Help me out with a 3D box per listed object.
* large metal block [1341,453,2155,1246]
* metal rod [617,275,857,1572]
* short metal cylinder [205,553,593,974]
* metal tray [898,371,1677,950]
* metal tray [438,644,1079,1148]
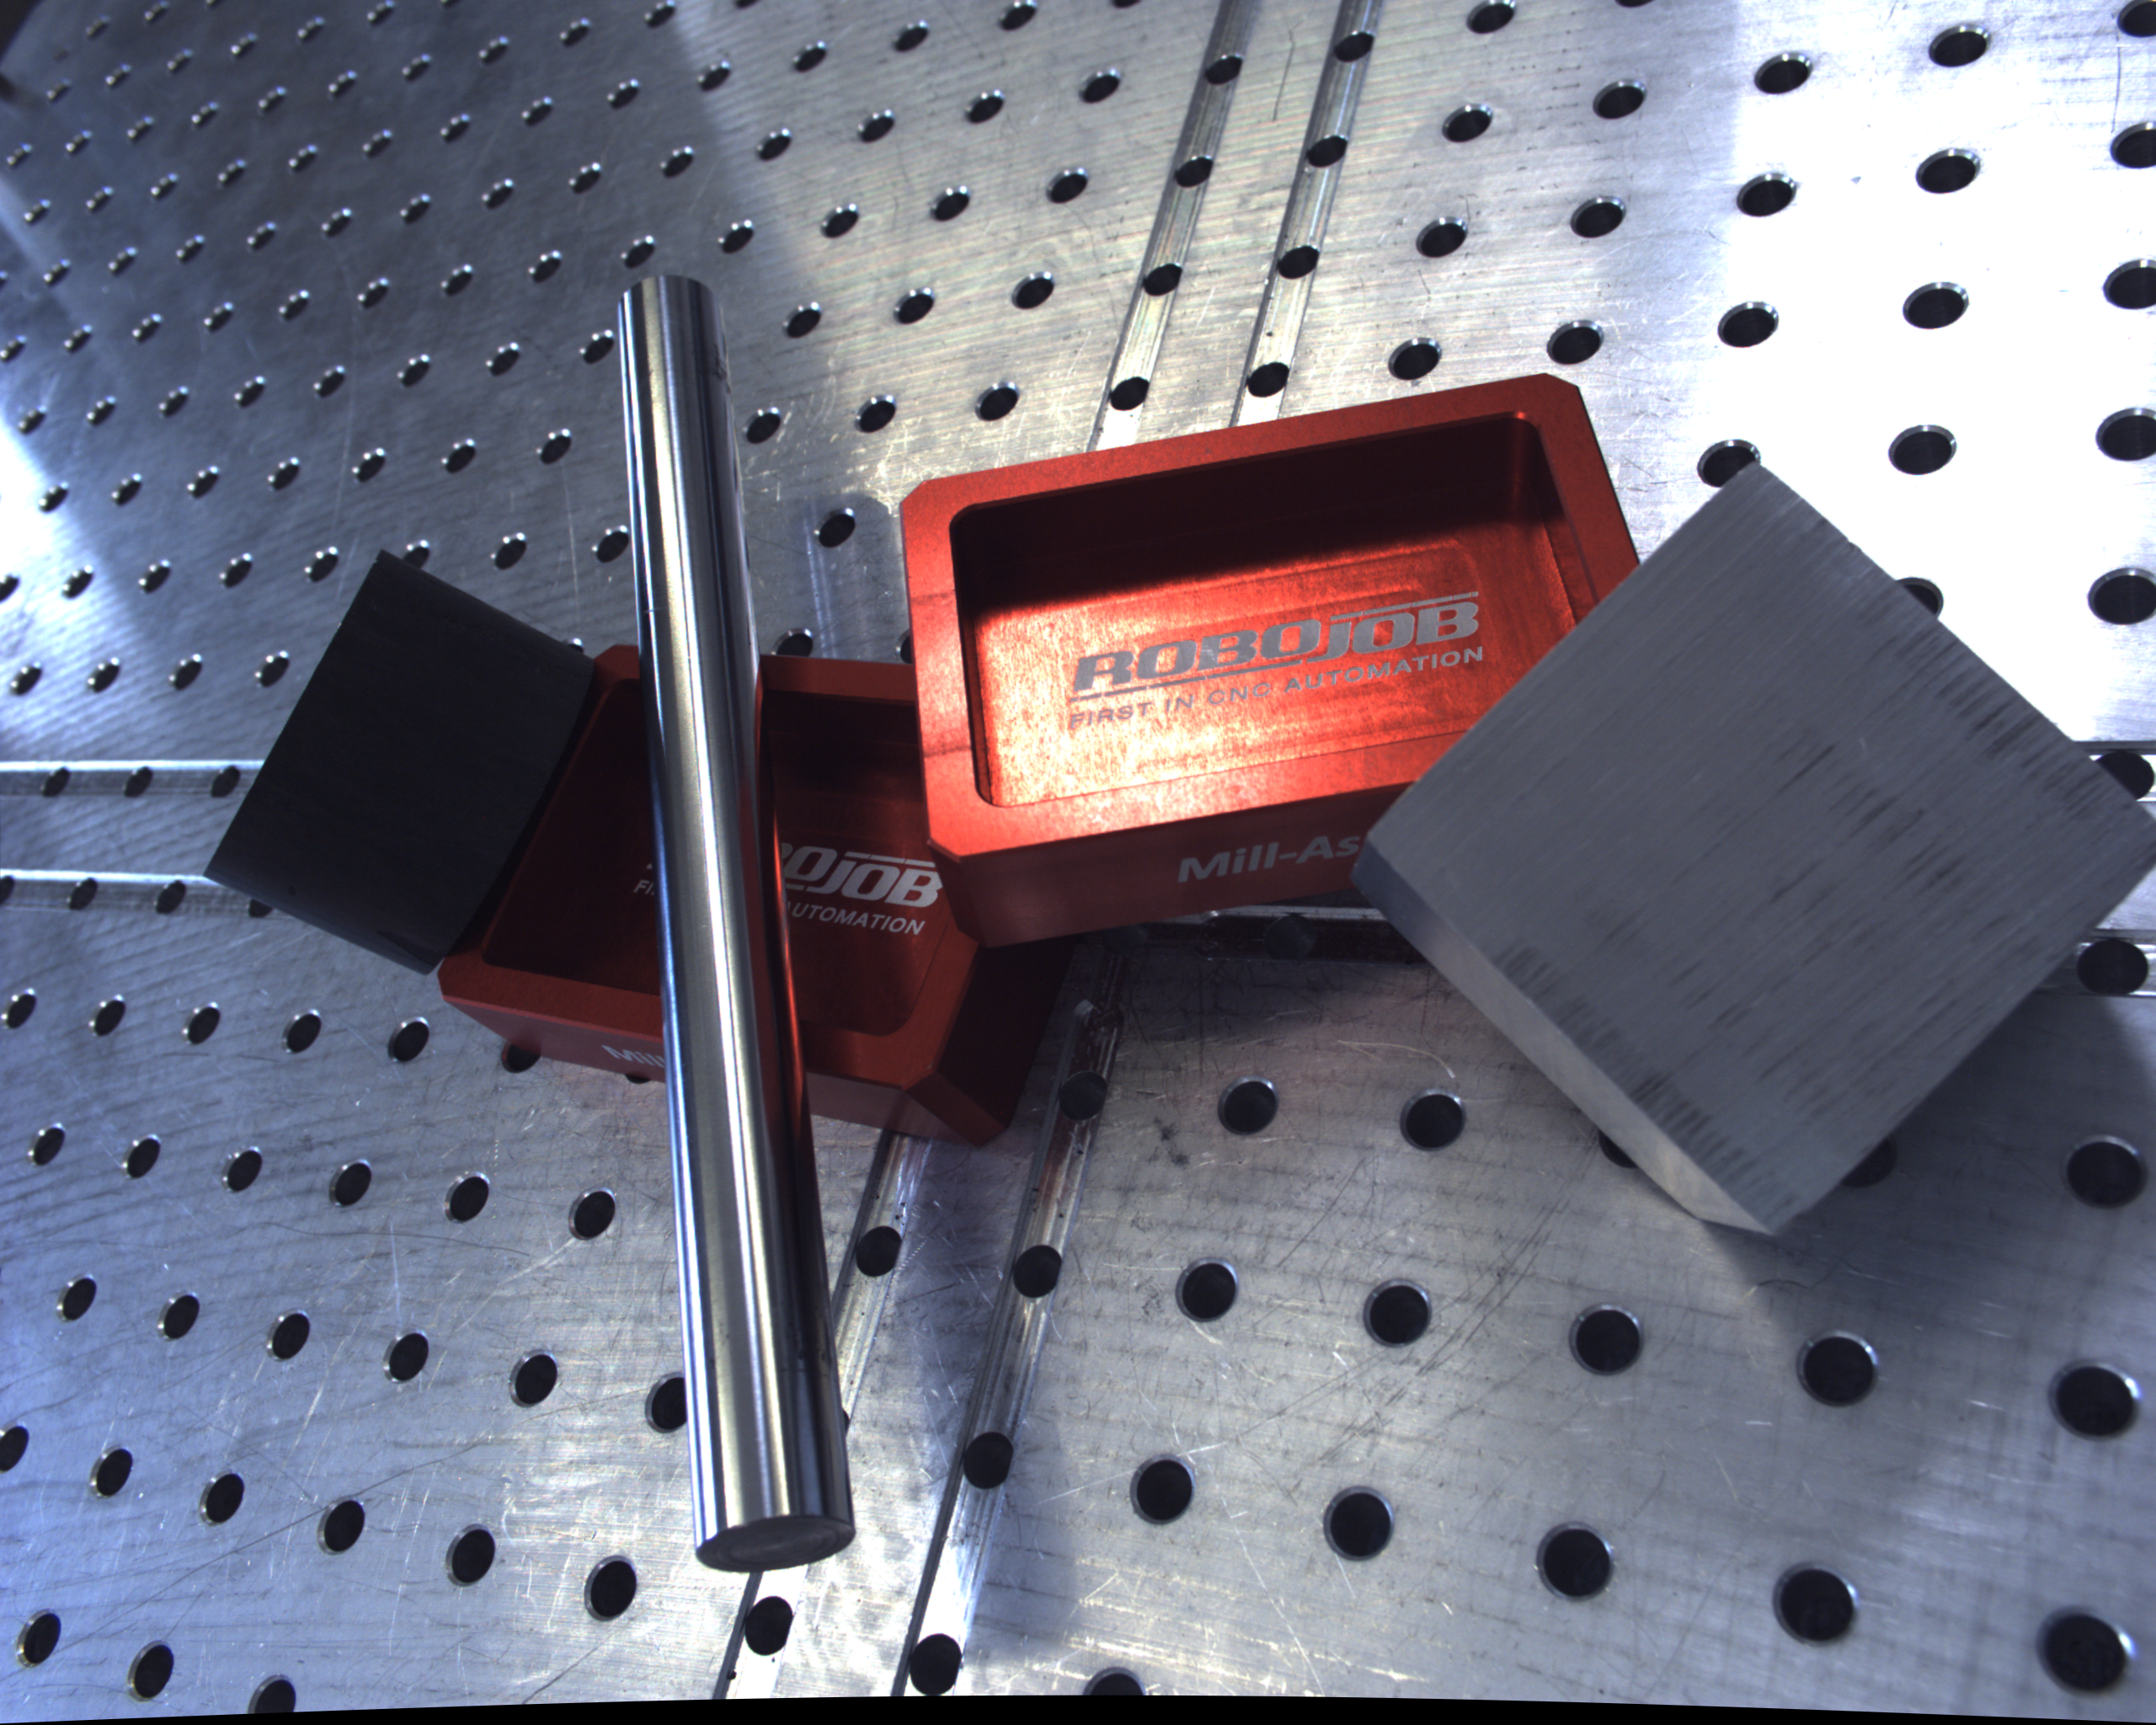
[{"bbox_3d":[0.098,0.000,0.318,0.080,0.050,0.080,-44,82,-2],"label":"large metal block"},{"bbox_3d":[-0.073,-0.012,0.415,0.025,0.025,0.299,-23,53,15],"label":"metal rod"},{"bbox_3d":[-0.149,-0.022,0.461,0.080,0.050,0.080,-49,23,31],"label":"short metal cylinder"},{"bbox_3d":[0.036,-0.039,0.386,0.131,0.030,0.090,-10,56,3],"label":"metal tray"},{"bbox_3d":[-0.062,0.003,0.435,0.130,0.030,0.090,7,65,31],"label":"metal tray"}]
